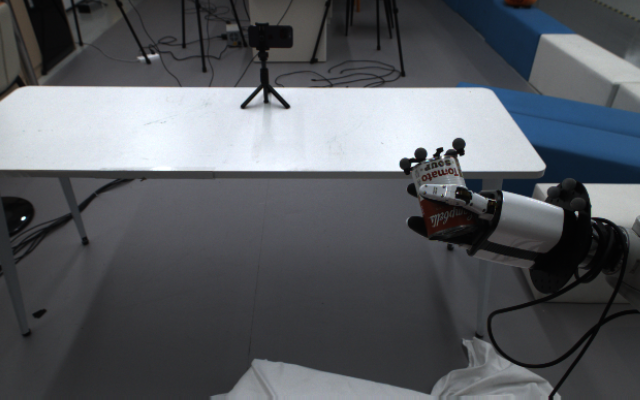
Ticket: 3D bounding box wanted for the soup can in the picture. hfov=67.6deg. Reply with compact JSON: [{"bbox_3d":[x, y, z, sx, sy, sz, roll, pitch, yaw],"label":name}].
[{"bbox_3d":[0.171,-0.004,0.667,0.067,0.067,0.101,-8,74,-14],"label":"soup can"}]
